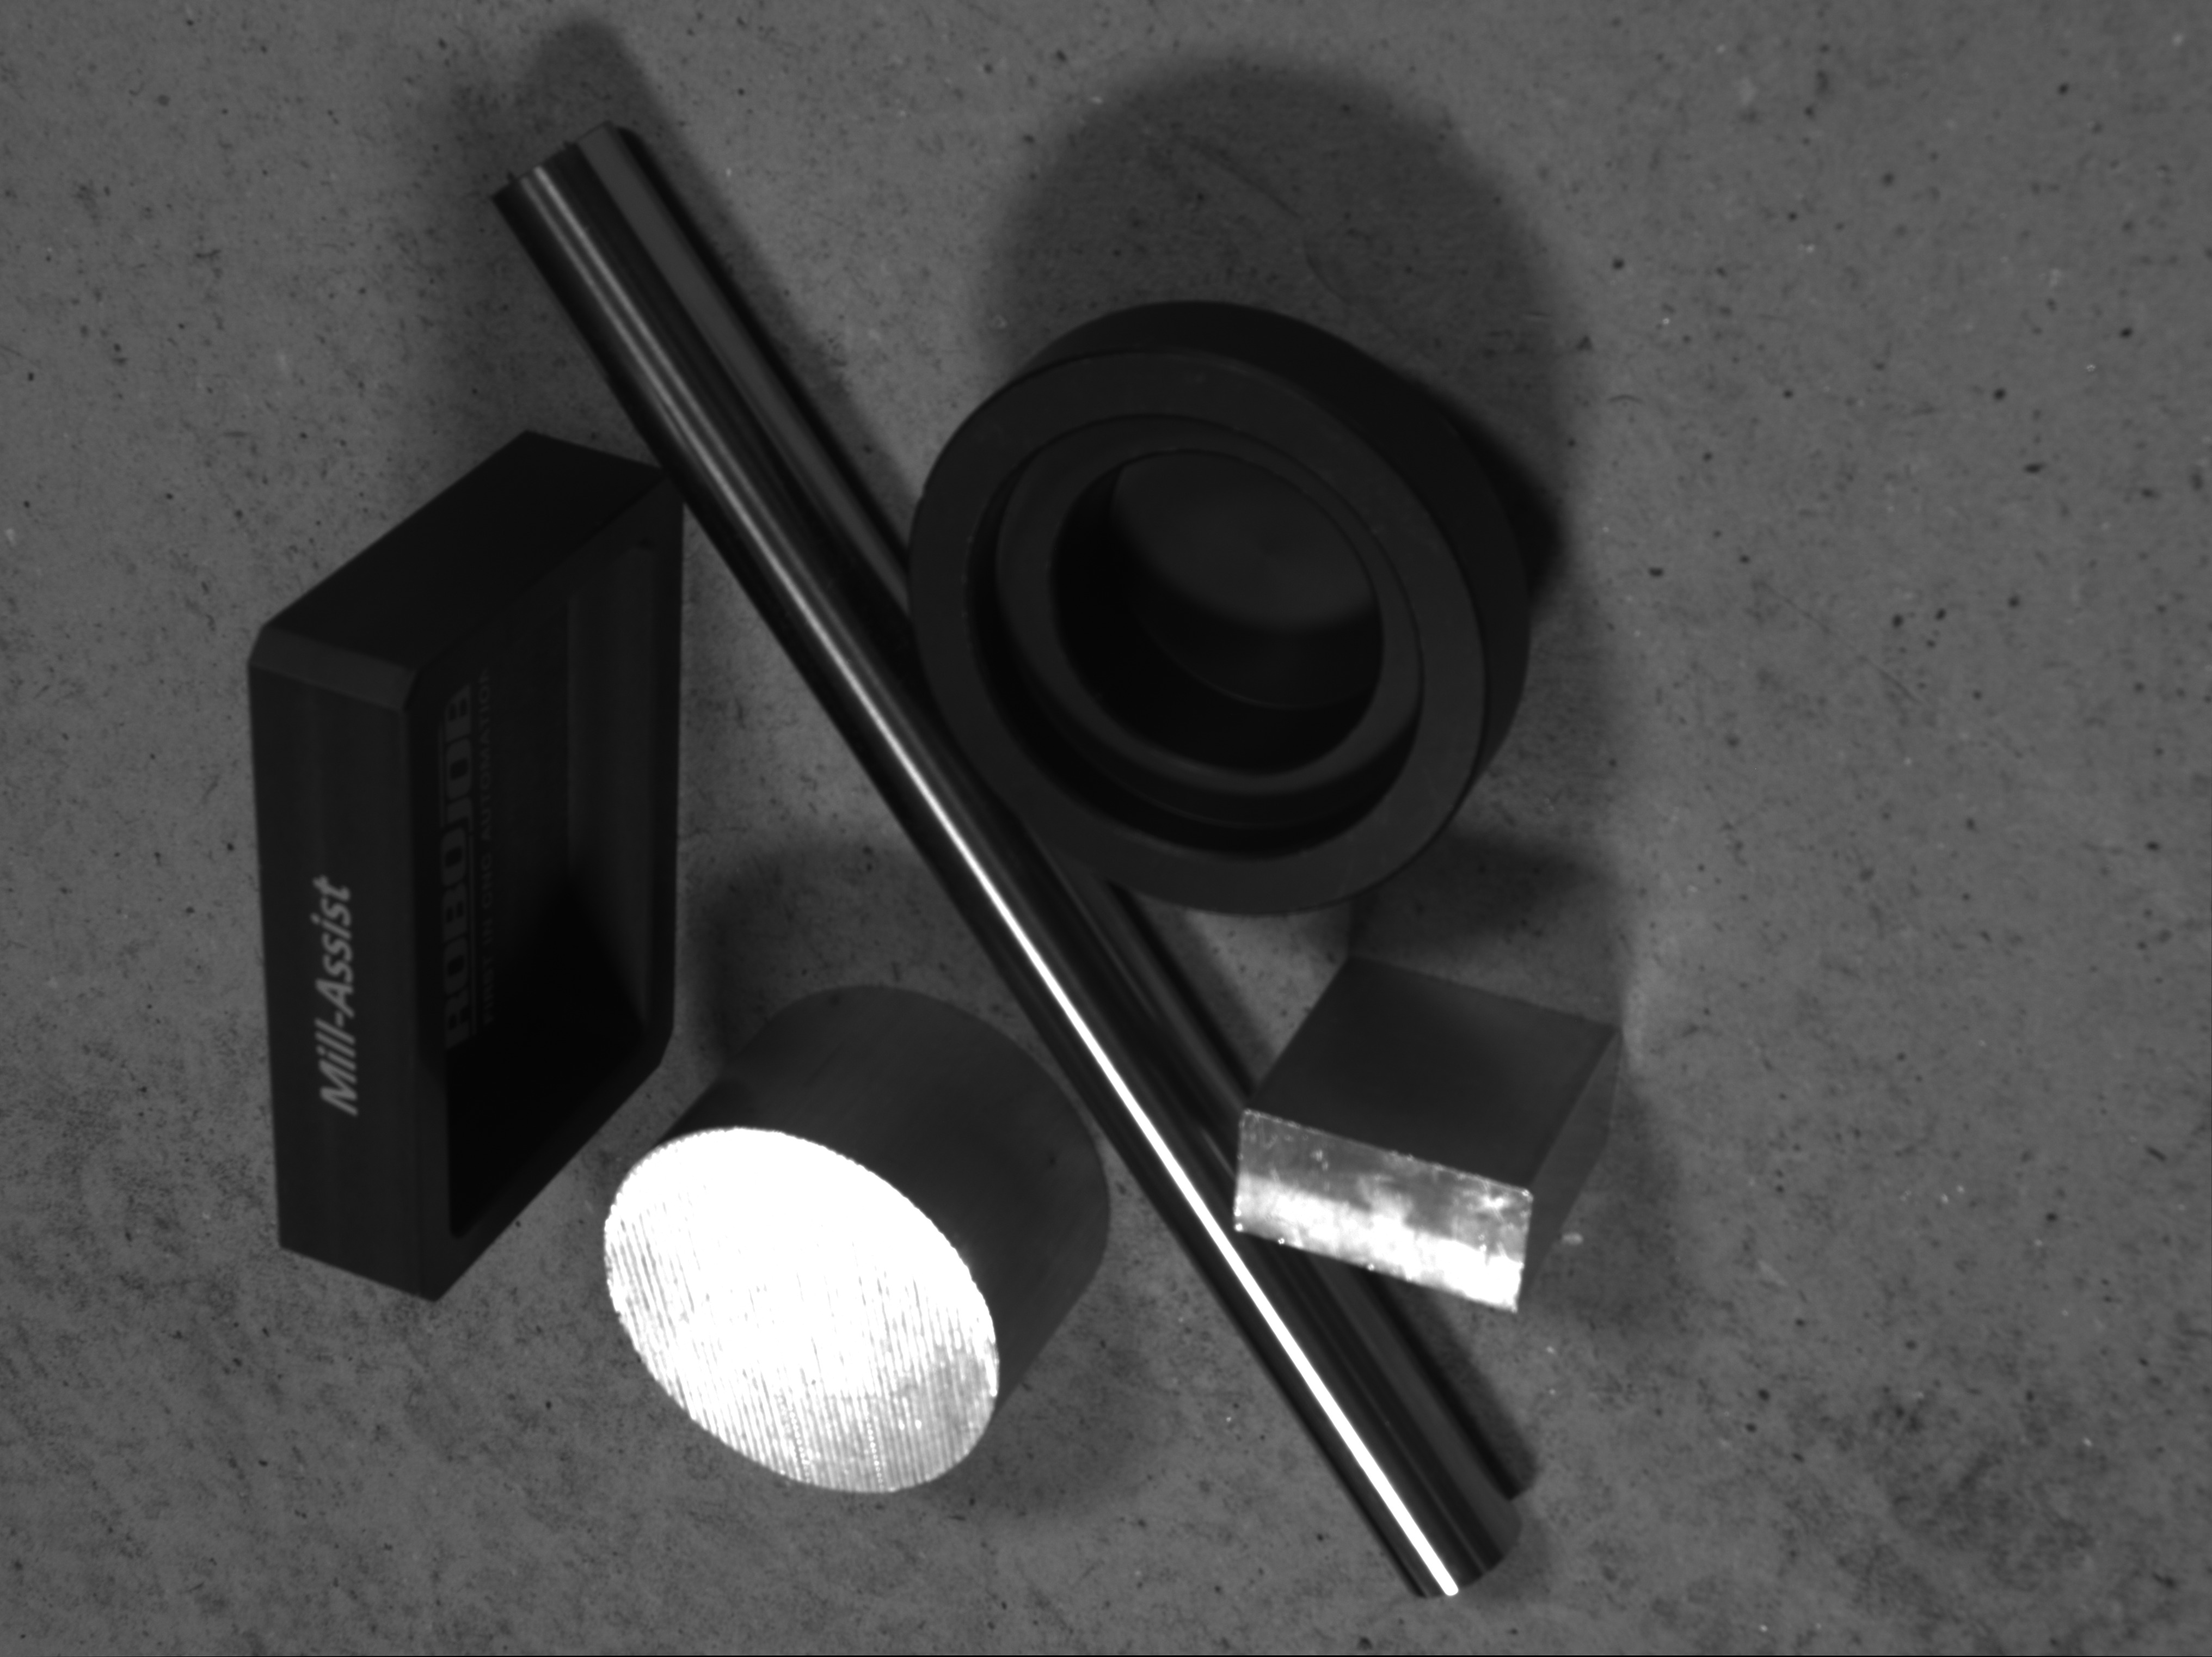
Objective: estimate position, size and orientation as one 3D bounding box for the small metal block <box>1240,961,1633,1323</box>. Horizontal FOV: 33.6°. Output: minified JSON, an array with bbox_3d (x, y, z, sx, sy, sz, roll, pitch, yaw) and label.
[{"bbox_3d":[0.056,0.052,0.615,0.050,0.050,0.025,15,124,18],"label":"small metal block"}]

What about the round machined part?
[{"bbox_3d":[0.024,-0.039,0.585,0.098,0.042,0.098,12,123,20],"label":"round machined part"}]

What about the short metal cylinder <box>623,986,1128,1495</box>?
[{"bbox_3d":[-0.042,0.077,0.682,0.080,0.050,0.080,12,123,20],"label":"short metal cylinder"}]

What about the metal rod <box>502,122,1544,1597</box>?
[{"bbox_3d":[-0.010,0.011,0.644,0.025,0.025,0.300,-24,106,35],"label":"metal rod"}]

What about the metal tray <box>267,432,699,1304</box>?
[{"bbox_3d":[-0.108,0.007,0.648,0.030,0.090,0.130,17,125,17],"label":"metal tray"}]
